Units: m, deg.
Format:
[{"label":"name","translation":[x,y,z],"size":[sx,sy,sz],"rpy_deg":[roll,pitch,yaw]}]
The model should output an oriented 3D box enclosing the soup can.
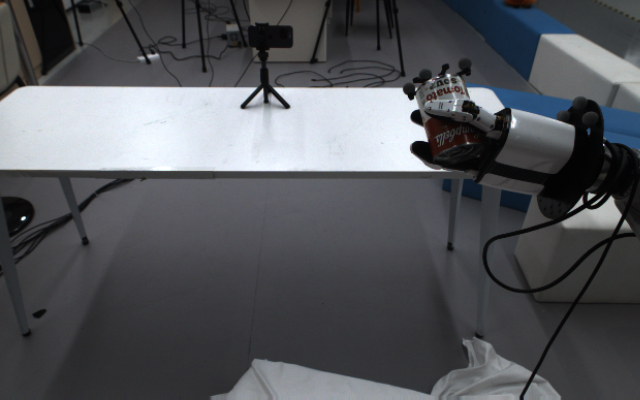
[{"label":"soup can","translation":[0.171,-0.108,0.642],"size":[0.067,0.067,0.101],"rpy_deg":[-8,74,-14]}]
